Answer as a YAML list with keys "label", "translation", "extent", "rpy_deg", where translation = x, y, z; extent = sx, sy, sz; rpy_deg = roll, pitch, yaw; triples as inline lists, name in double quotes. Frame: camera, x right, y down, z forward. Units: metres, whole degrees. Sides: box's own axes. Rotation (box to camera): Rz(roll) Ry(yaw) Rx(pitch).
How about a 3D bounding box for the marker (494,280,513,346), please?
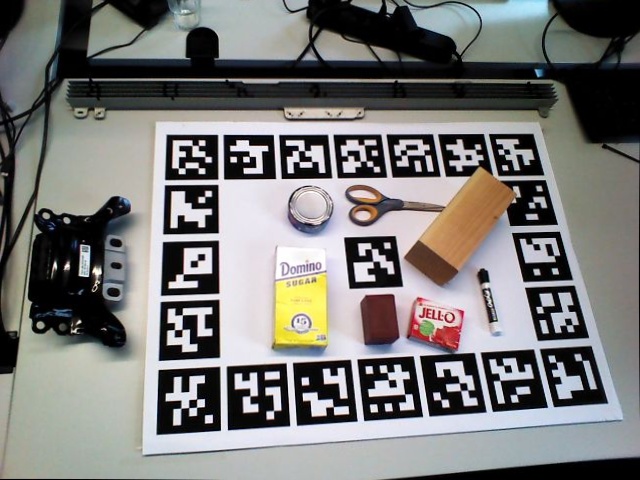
- label: "marker"
  translation: [0.339, 0.133, 0.956]
  extent: [0.019, 0.020, 0.120]
  rpy_deg: [1, 71, -7]

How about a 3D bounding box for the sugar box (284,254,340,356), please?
- label: "sugar box"
  translation: [-0.012, 0.114, 0.911]
  extent: [0.093, 0.045, 0.175]
  rpy_deg: [4, 69, -6]

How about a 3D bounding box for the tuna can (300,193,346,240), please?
- label: "tuna can"
  translation: [0.005, -0.043, 0.975]
  extent: [0.086, 0.034, 0.085]
  rpy_deg: [2, 70, -6]

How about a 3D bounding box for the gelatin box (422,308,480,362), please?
- label: "gelatin box"
  translation: [0.234, 0.170, 0.925]
  extent: [0.089, 0.030, 0.073]
  rpy_deg: [17, 69, 0]

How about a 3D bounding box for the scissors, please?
- label: "scissors"
  translation: [0.175, -0.048, 1.010]
  extent: [0.203, 0.016, 0.087]
  rpy_deg: [6, 69, -2]

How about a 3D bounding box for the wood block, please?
- label: "wood block"
  translation: [0.298, -0.003, 0.971]
  extent: [0.090, 0.091, 0.205]
  rpy_deg: [40, 69, 10]

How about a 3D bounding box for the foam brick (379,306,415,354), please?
- label: "foam brick"
  translation: [0.132, 0.157, 0.903]
  extent: [0.053, 0.051, 0.077]
  rpy_deg: [1, 70, -6]
